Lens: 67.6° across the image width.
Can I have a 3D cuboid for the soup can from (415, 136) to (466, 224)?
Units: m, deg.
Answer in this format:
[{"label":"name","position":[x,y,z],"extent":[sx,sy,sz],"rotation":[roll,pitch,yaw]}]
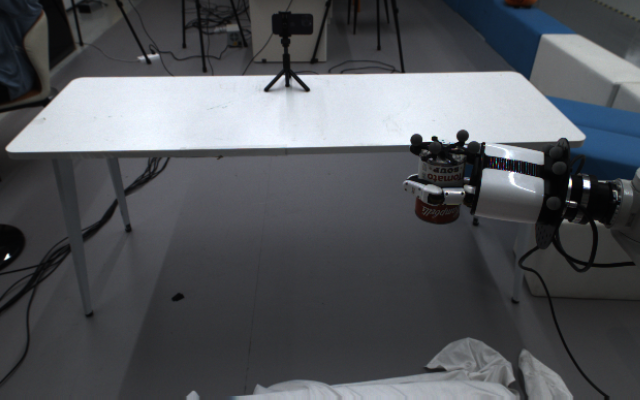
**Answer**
[{"label":"soup can","position":[0.179,-0.025,0.718],"extent":[0.067,0.101,0.067],"rotation":[-2,33,1]}]
